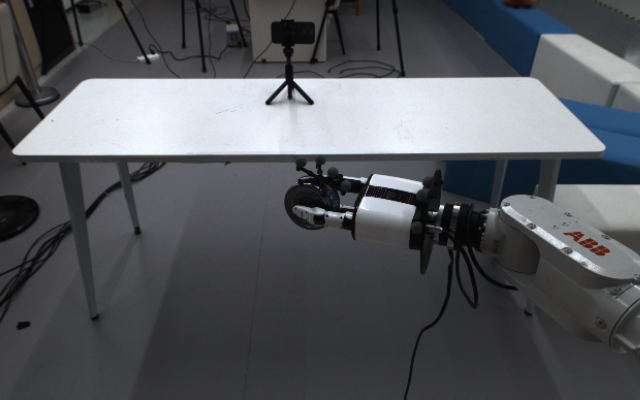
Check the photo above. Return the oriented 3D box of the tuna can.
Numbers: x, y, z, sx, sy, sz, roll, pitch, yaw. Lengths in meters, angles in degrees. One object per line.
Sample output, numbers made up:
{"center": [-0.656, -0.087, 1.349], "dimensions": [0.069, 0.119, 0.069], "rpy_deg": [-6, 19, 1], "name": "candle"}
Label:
{"center": [-0.013, 0.005, 0.775], "dimensions": [0.085, 0.085, 0.034], "rpy_deg": [15, 31, 18], "name": "tuna can"}
